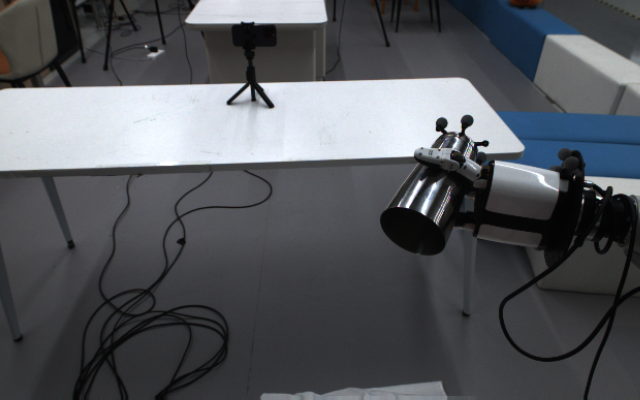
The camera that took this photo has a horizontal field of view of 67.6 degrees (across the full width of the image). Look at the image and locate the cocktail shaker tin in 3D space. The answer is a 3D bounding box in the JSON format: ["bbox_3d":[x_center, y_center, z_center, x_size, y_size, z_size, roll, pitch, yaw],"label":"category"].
[{"bbox_3d":[0.164,-0.022,0.671,0.093,0.093,0.170,19,55,22],"label":"cocktail shaker tin"}]
